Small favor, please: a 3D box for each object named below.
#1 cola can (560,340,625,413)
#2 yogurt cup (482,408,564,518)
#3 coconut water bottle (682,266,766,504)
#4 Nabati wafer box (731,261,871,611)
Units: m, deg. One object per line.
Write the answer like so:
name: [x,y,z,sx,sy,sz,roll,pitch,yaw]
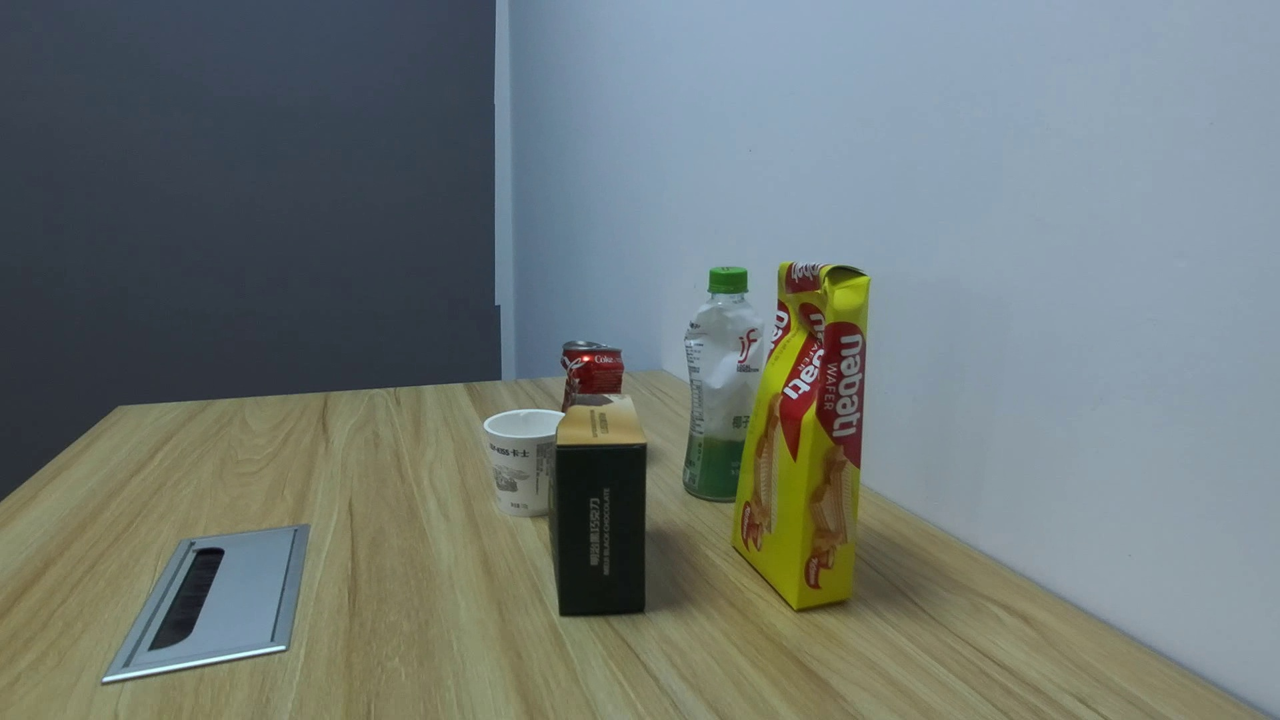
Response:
cola can: [-0.045,0.040,0.651,0.065,0.112,0.069,1,10,1]
yogurt cup: [-0.091,0.084,0.585,0.072,0.068,0.072,0,12,0]
coconut water bottle: [0.070,0.018,0.577,0.069,0.187,0.069,3,12,0]
Nabati wafer box: [0.100,0.042,0.443,0.043,0.205,0.113,-2,12,-17]
